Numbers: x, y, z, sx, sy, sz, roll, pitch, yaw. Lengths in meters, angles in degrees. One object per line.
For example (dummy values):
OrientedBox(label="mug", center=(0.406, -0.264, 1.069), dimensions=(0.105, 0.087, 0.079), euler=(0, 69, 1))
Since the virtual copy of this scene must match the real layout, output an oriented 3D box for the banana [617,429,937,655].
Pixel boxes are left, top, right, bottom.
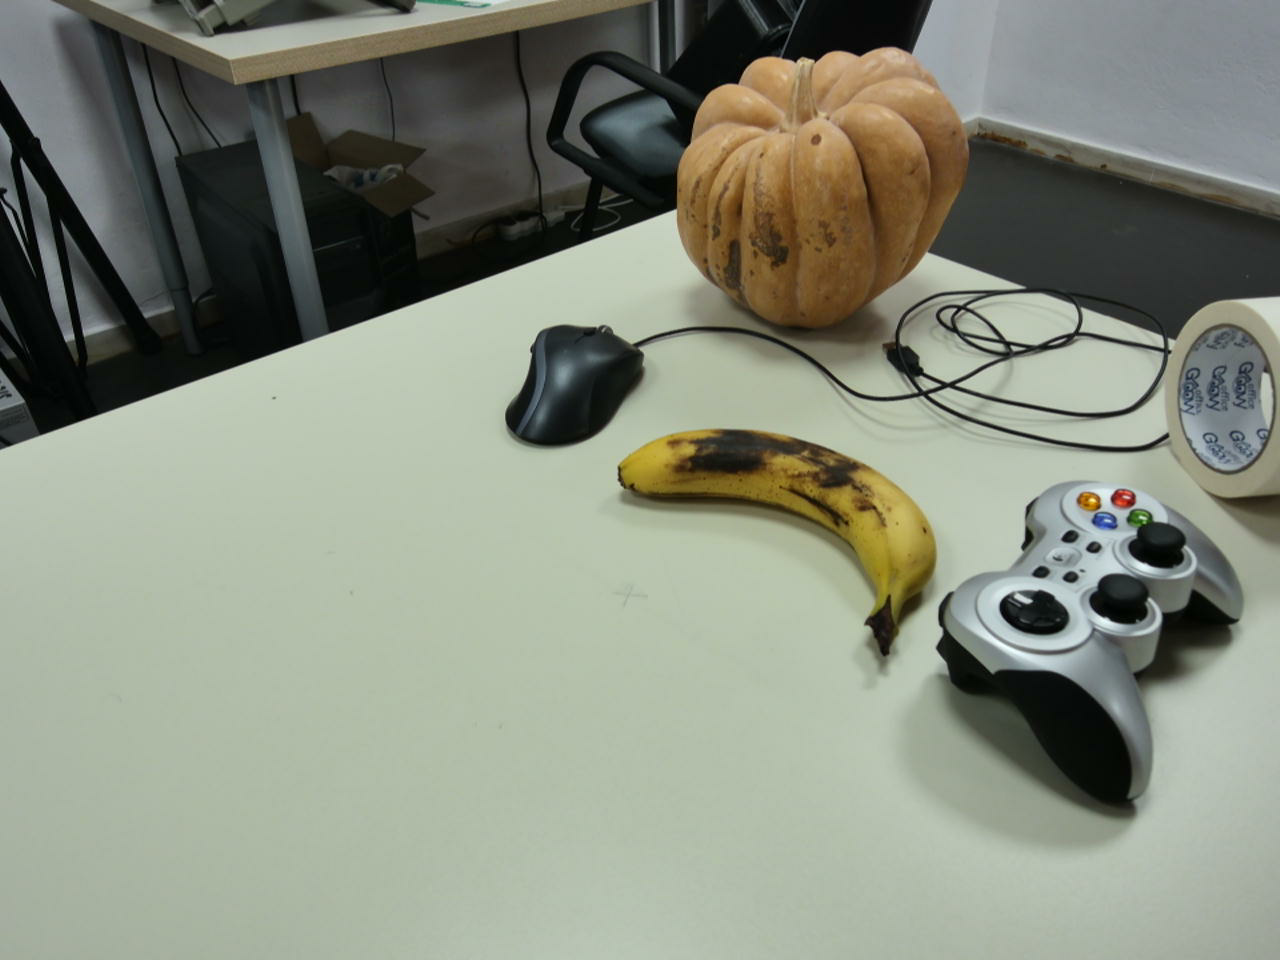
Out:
OrientedBox(label="banana", center=(0.080, 0.013, 0.526), dimensions=(0.094, 0.039, 0.187), euler=(-28, 44, -32))
